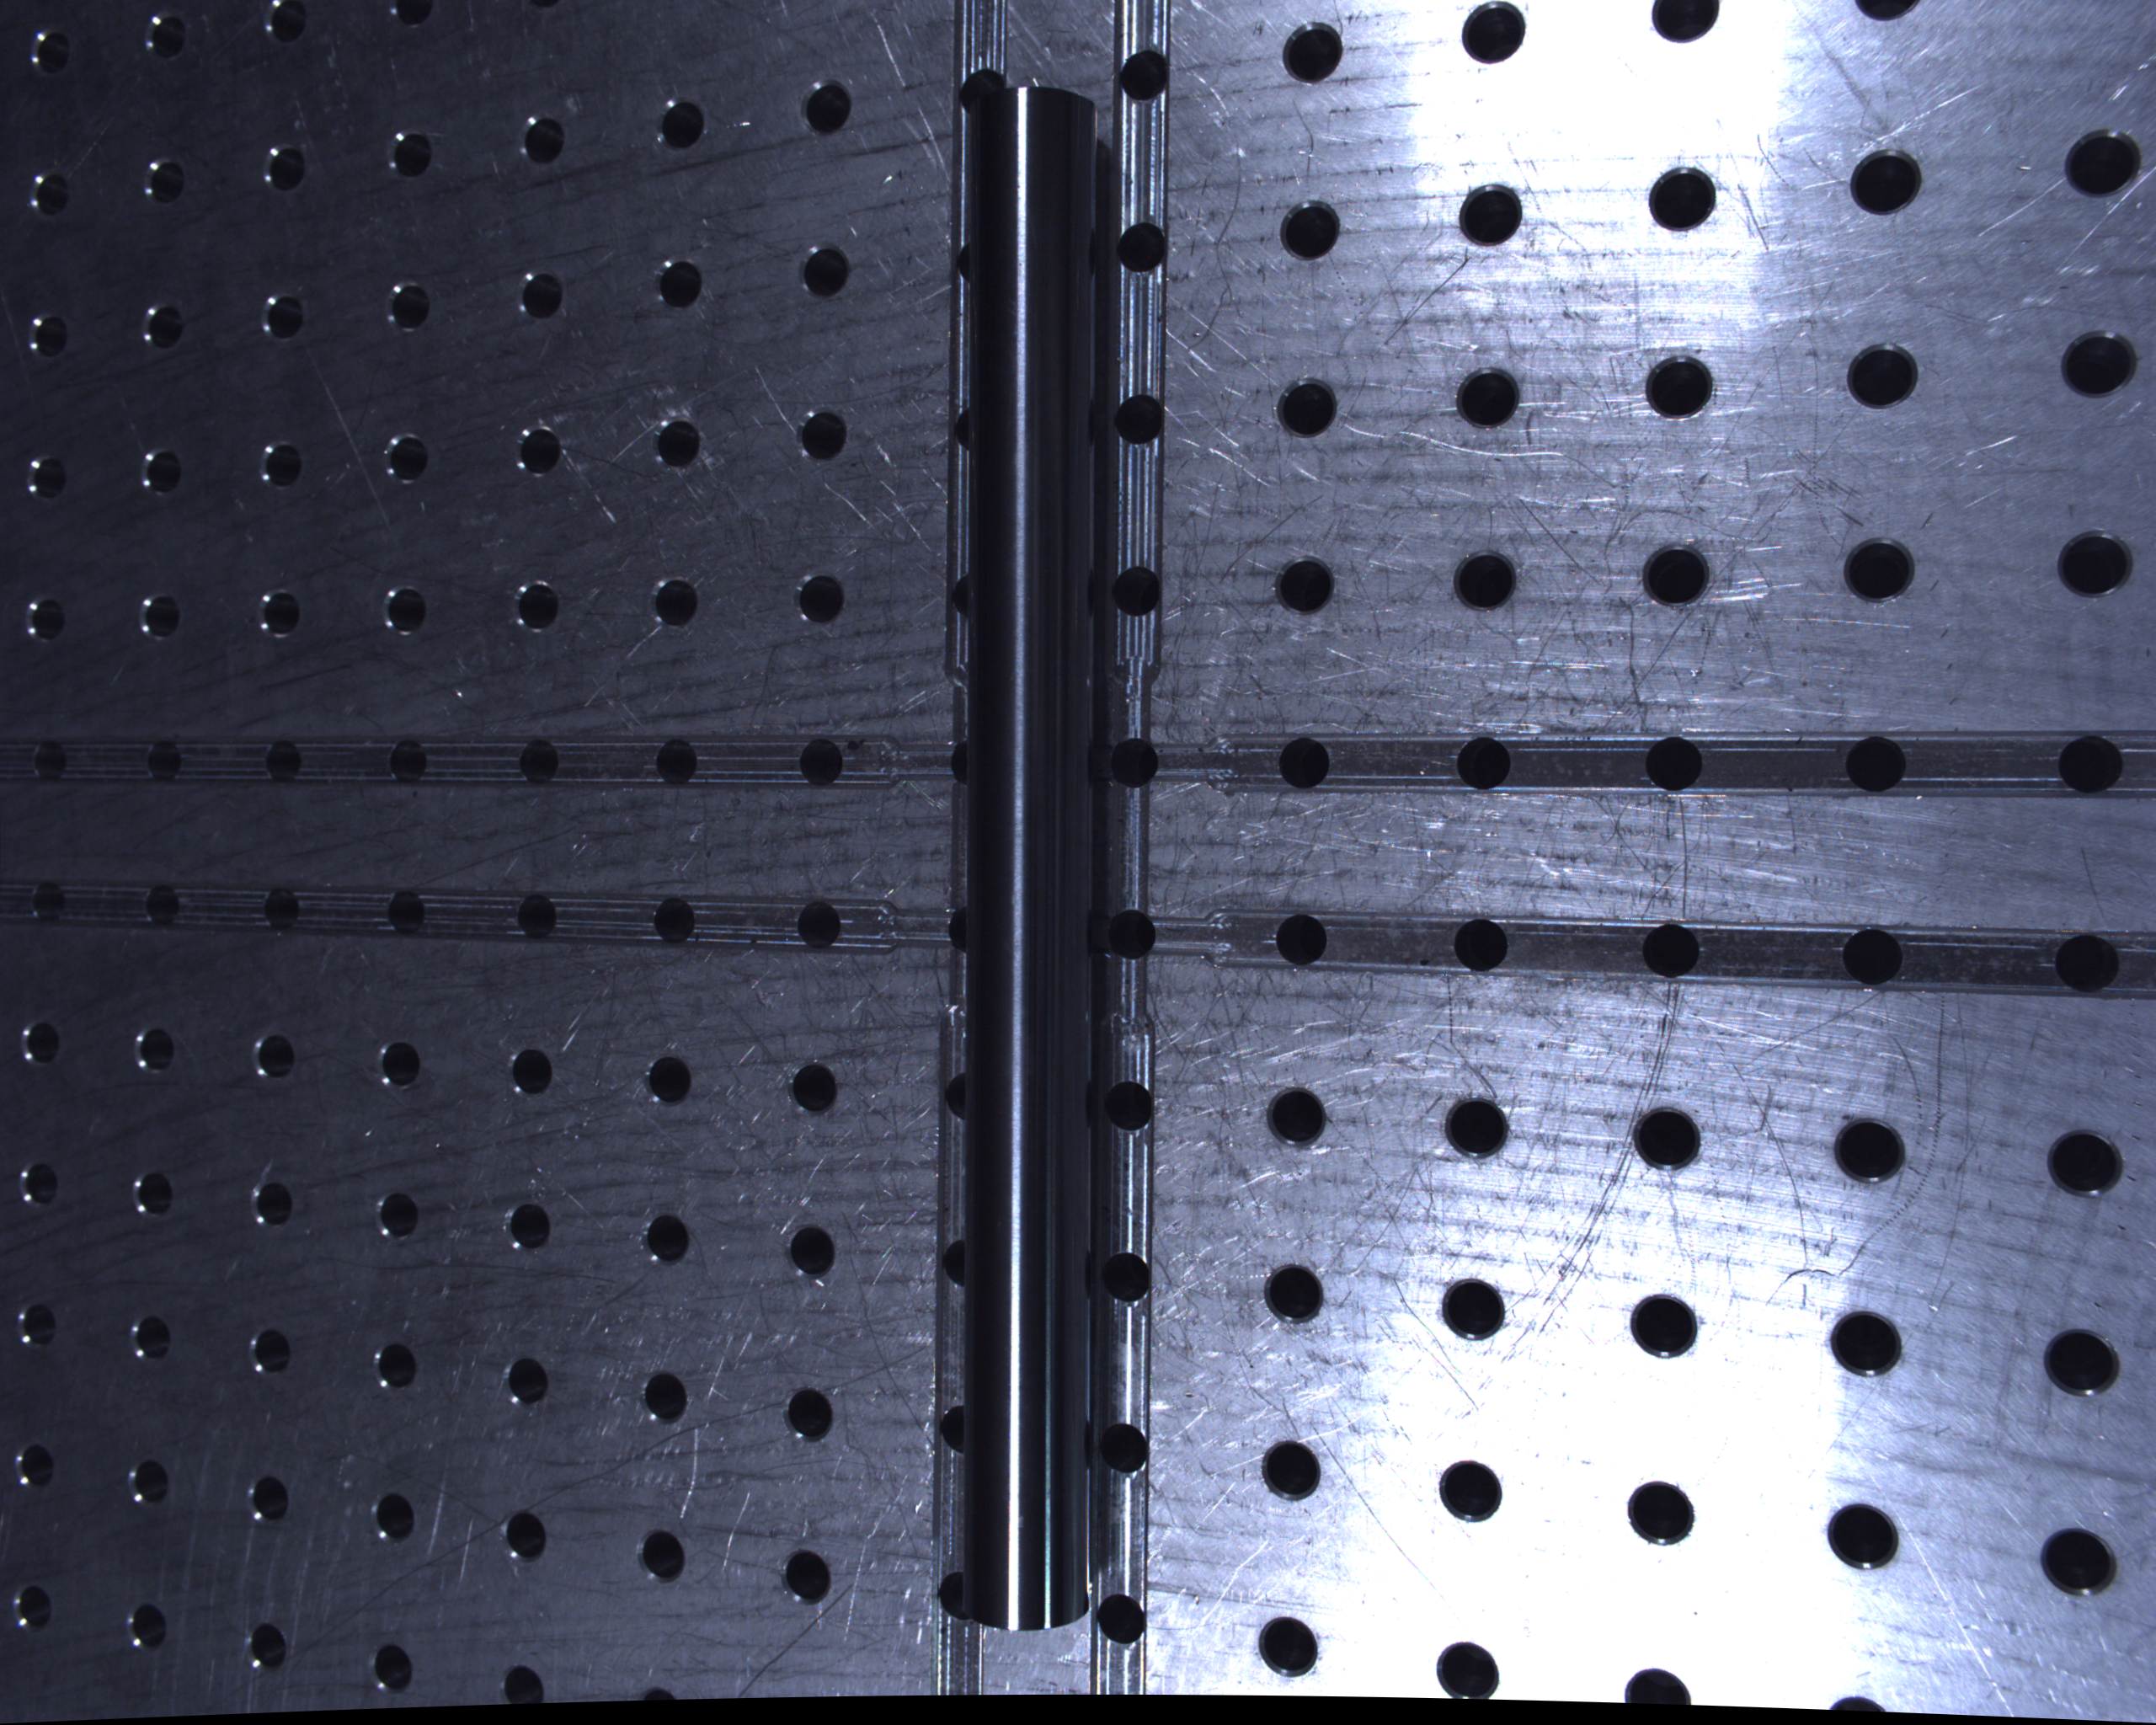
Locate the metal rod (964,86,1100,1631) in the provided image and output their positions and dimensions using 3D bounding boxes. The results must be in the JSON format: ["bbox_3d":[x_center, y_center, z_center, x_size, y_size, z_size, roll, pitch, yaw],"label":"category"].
[{"bbox_3d":[-0.009,-0.001,0.415,0.025,0.025,0.298,0,90,19],"label":"metal rod"}]
